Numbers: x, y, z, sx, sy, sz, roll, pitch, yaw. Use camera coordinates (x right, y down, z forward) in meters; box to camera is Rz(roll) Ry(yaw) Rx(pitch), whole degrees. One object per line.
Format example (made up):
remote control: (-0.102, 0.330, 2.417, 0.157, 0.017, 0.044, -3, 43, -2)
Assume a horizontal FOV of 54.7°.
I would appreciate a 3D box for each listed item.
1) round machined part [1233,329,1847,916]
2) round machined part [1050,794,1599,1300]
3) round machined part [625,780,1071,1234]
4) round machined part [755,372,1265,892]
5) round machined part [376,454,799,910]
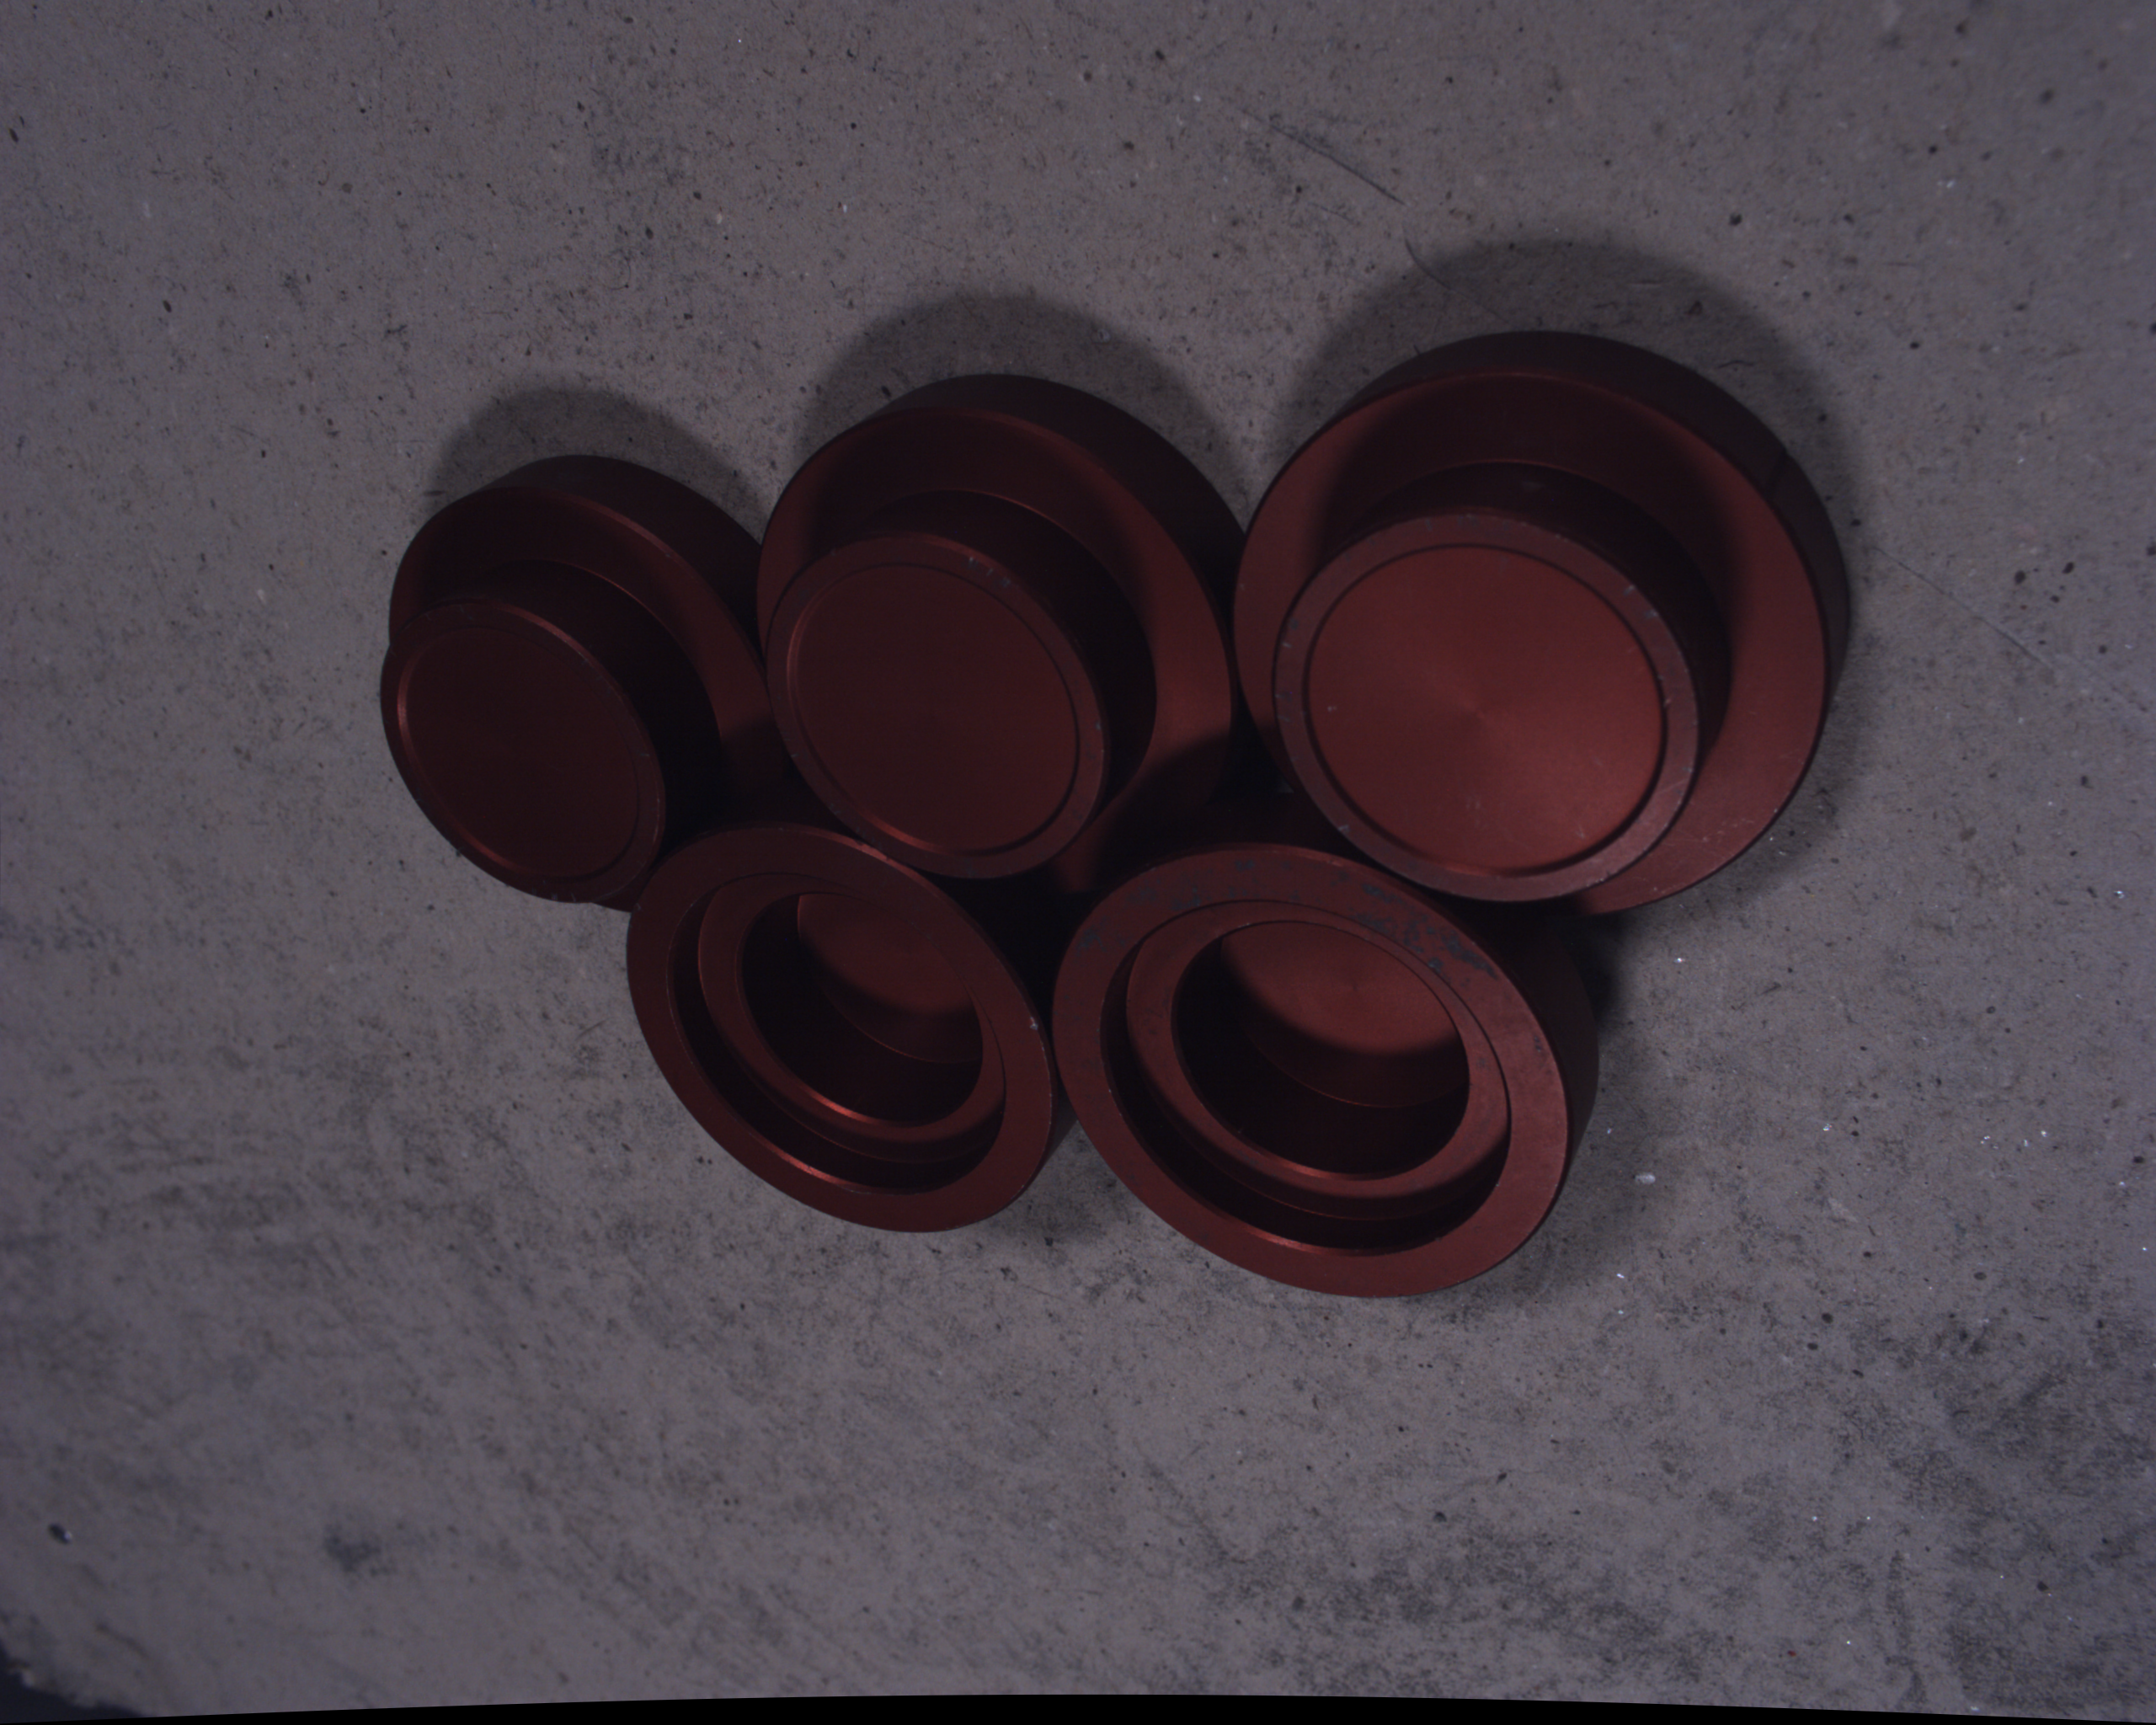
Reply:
round machined part: (0.071, -0.033, 0.339, 0.098, 0.042, 0.097, 13, 124, 20)
round machined part: (0.048, 0.030, 0.390, 0.098, 0.042, 0.097, 13, 124, 20)
round machined part: (-0.041, 0.026, 0.433, 0.098, 0.042, 0.097, 13, 124, 20)
round machined part: (-0.017, -0.037, 0.383, 0.098, 0.042, 0.097, 13, 124, 20)
round machined part: (-0.104, -0.031, 0.431, 0.098, 0.042, 0.097, 13, 124, 20)
